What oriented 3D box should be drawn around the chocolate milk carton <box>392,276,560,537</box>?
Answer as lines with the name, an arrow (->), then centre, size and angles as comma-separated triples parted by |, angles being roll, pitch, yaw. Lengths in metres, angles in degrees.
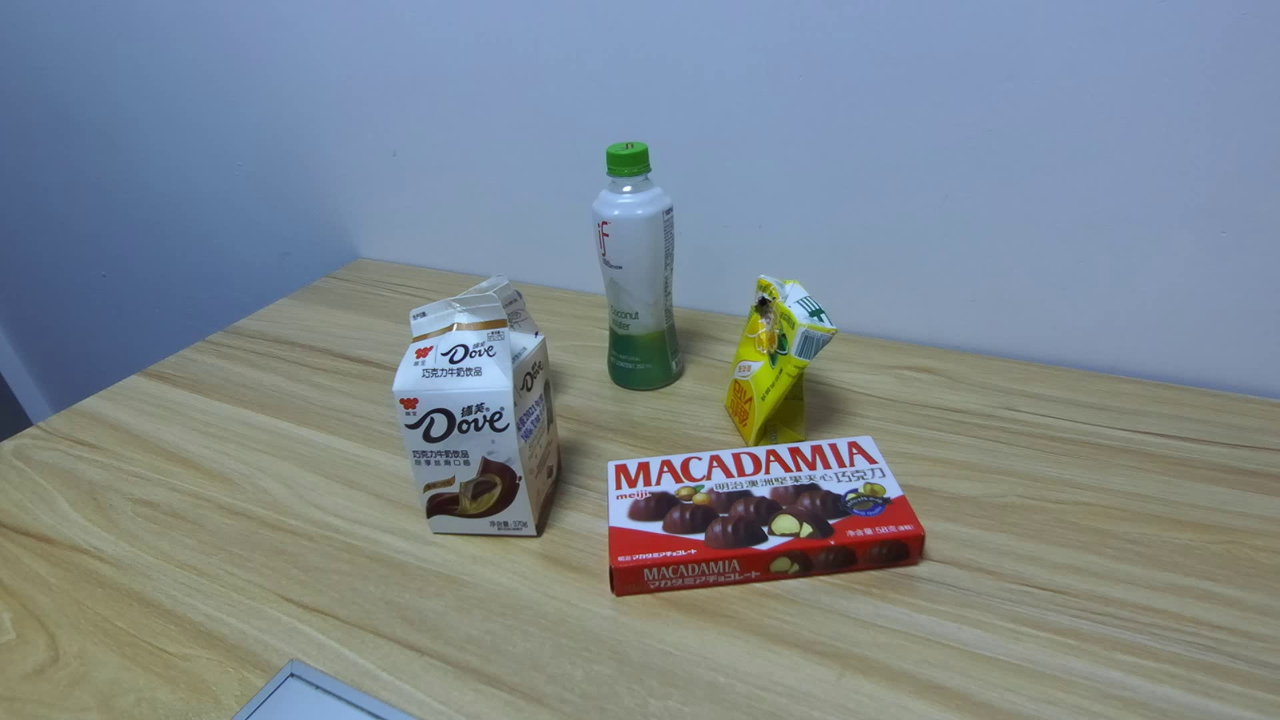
chocolate milk carton -> -0.099, 0.027, 0.440 | 0.076, 0.156, 0.073 | 0, 31, 9

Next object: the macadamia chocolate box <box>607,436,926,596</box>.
macadamia chocolate box -> 0.069, 0.092, 0.433 | 0.178, 0.027, 0.095 | -5, 30, 0

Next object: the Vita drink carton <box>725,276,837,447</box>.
Vita drink carton -> 0.098, 0.003, 0.498 | 0.042, 0.108, 0.086 | 2, 31, -16

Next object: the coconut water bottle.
coconut water bottle -> -0.002, -0.070, 0.549 | 0.063, 0.189, 0.063 | -4, 29, 2
